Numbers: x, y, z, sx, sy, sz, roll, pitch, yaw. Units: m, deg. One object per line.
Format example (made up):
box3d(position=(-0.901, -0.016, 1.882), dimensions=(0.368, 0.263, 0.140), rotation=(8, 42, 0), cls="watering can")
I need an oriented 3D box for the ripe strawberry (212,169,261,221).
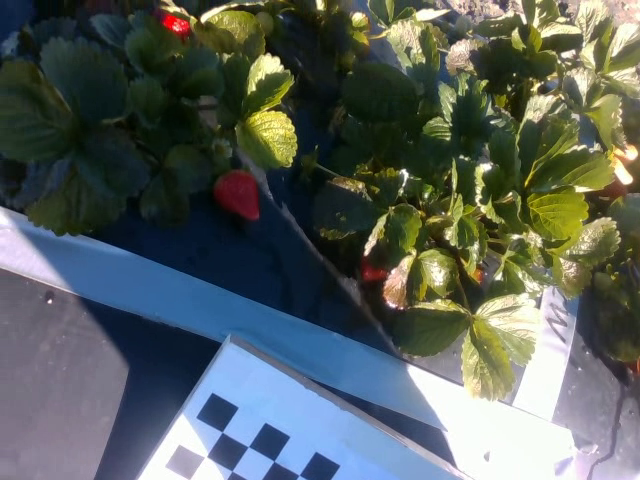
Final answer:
box3d(position=(-0.071, -0.038, 0.569), dimensions=(0.045, 0.059, 0.042), rotation=(-30, -6, -1), cls="ripe strawberry")
